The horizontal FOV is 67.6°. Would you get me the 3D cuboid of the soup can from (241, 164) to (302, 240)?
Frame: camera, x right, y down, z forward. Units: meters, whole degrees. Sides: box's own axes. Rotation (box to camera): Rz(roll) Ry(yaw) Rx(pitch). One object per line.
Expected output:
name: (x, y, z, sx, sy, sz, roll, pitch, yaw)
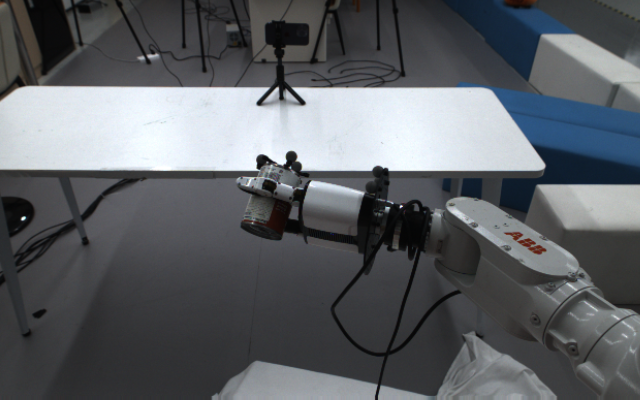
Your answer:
soup can: (-0.076, 0.002, 0.742, 0.067, 0.067, 0.101, 12, 71, 14)
